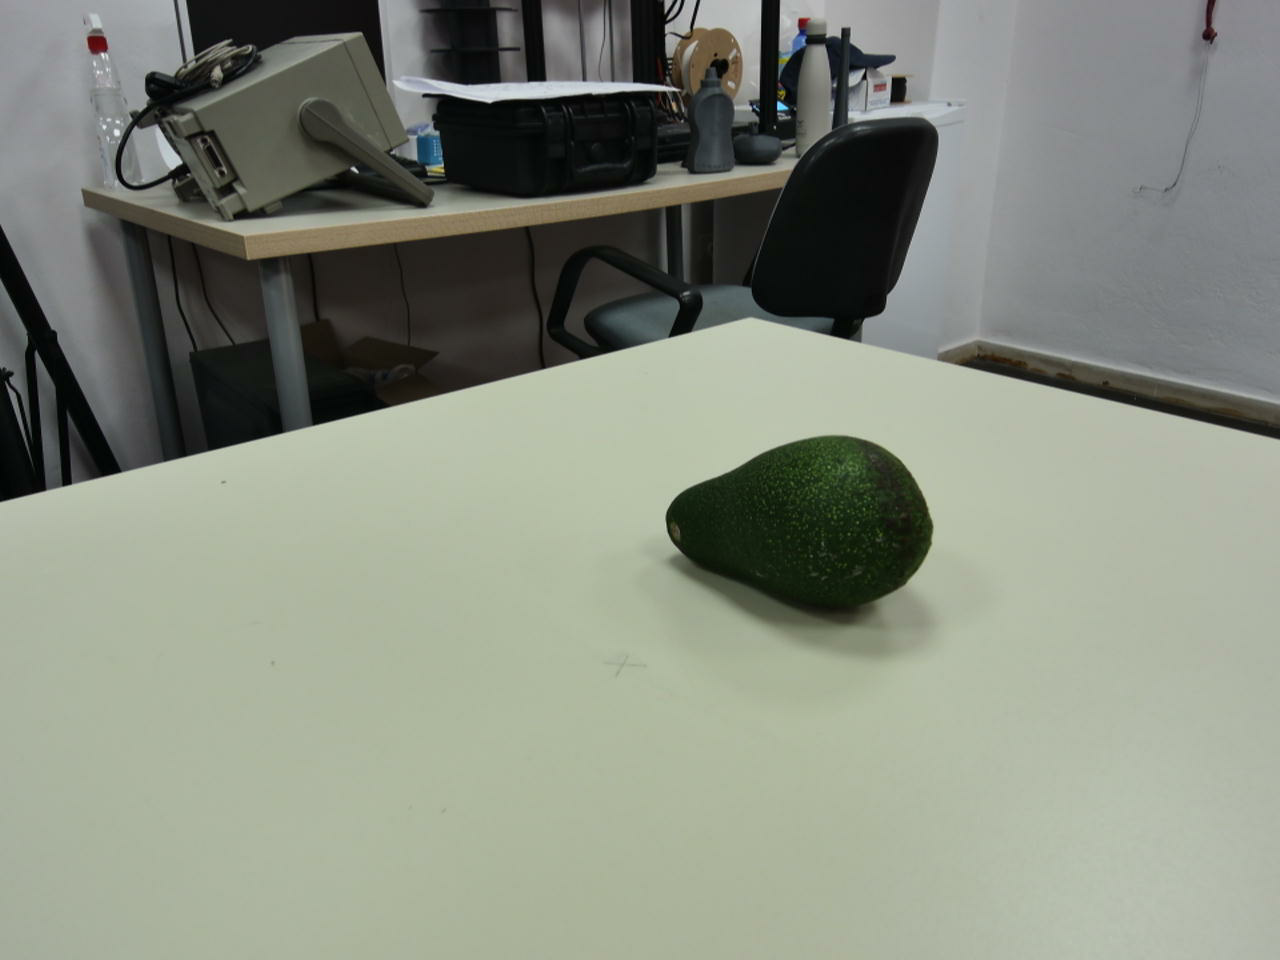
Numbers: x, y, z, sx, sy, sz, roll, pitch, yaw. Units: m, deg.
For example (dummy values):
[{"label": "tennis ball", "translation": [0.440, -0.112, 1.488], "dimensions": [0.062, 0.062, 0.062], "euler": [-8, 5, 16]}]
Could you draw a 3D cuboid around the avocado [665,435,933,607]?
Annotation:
[{"label": "avocado", "translation": [0.073, 0.013, 0.441], "dimensions": [0.074, 0.076, 0.123], "euler": [-14, 25, -30]}]
